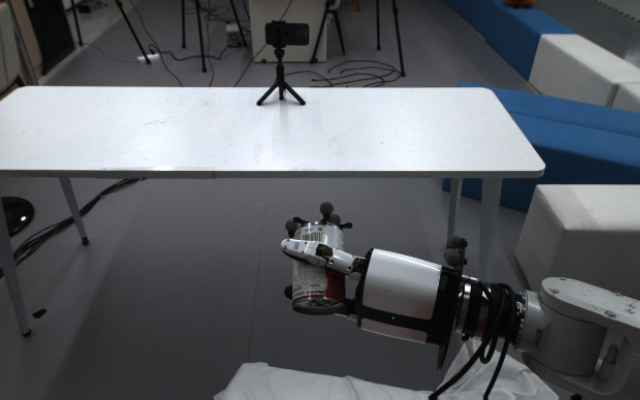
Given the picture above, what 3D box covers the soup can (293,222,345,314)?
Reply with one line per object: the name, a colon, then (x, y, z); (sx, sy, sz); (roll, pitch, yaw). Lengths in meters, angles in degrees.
soup can: (0.001, 0.087, 0.613); (0.067, 0.067, 0.101); (0, 62, -2)
